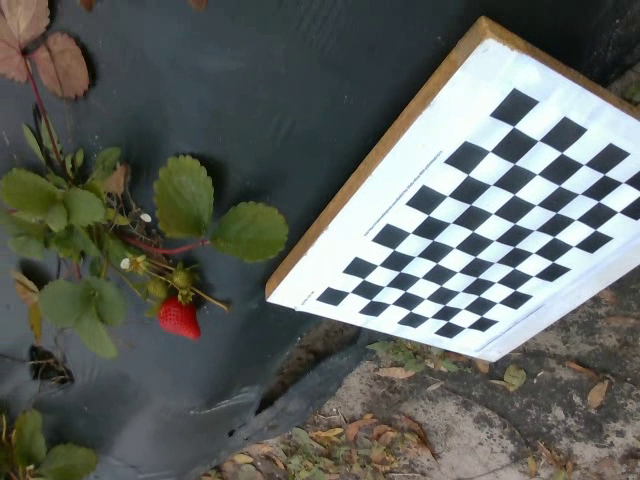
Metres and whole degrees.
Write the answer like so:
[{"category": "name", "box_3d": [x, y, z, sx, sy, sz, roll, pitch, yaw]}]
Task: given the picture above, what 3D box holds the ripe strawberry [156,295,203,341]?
[{"category": "ripe strawberry", "box_3d": [-0.040, 0.022, 0.150, 0.017, 0.018, 0.014, 44, 28, 10]}]
